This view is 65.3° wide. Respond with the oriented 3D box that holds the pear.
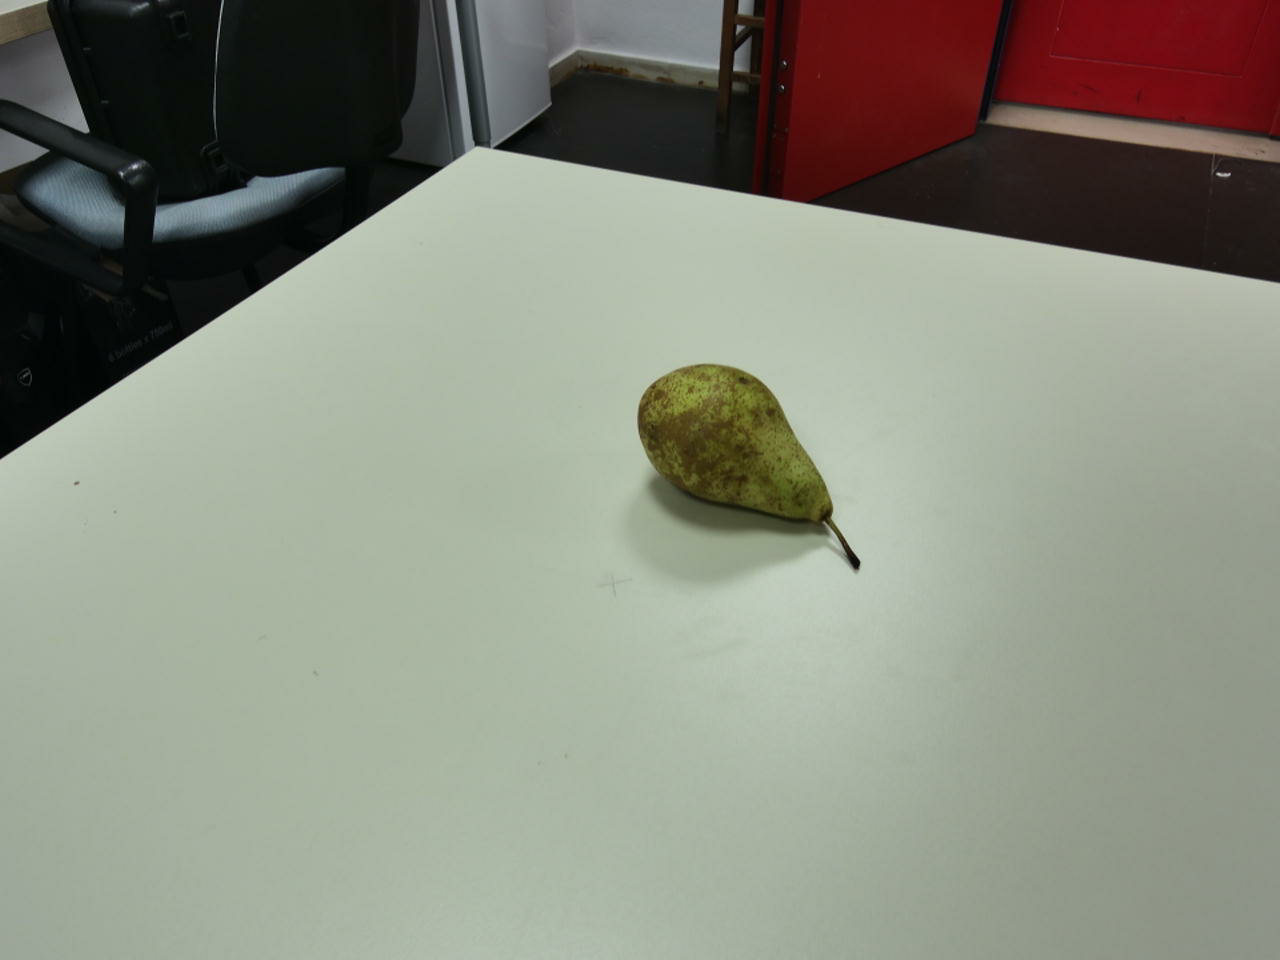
[{"bbox_3d":[0.060,-0.019,0.520,0.128,0.075,0.071,12,39,14],"label":"pear"}]
